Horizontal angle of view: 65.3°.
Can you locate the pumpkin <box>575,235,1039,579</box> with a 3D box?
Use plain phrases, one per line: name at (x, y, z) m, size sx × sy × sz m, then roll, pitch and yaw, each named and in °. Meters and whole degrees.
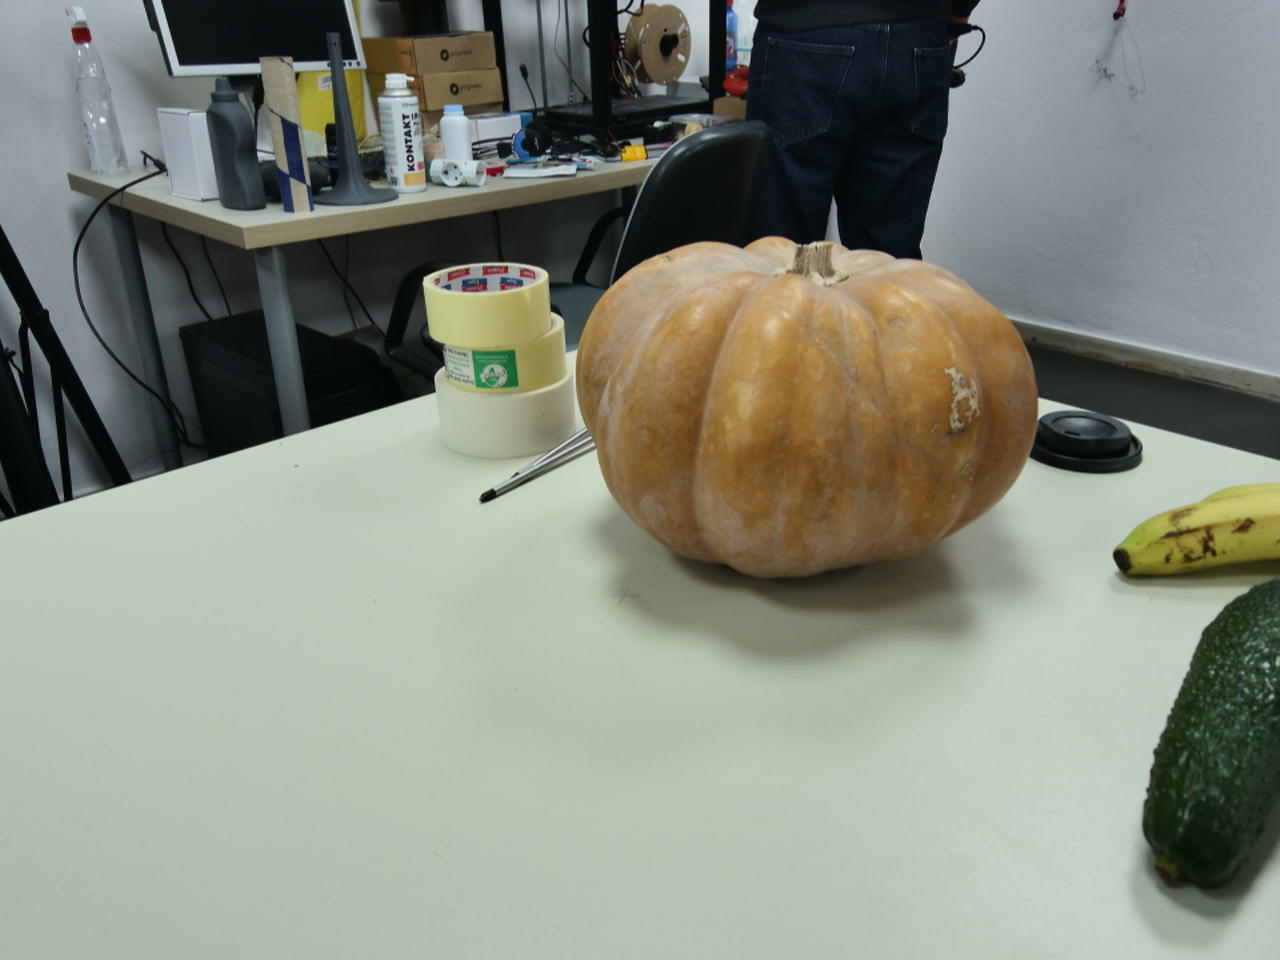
pumpkin at (0.092, -0.052, 0.602) m, size 0.277 × 0.181 × 0.277 m, roll 0°, pitch 25°, yaw 0°
